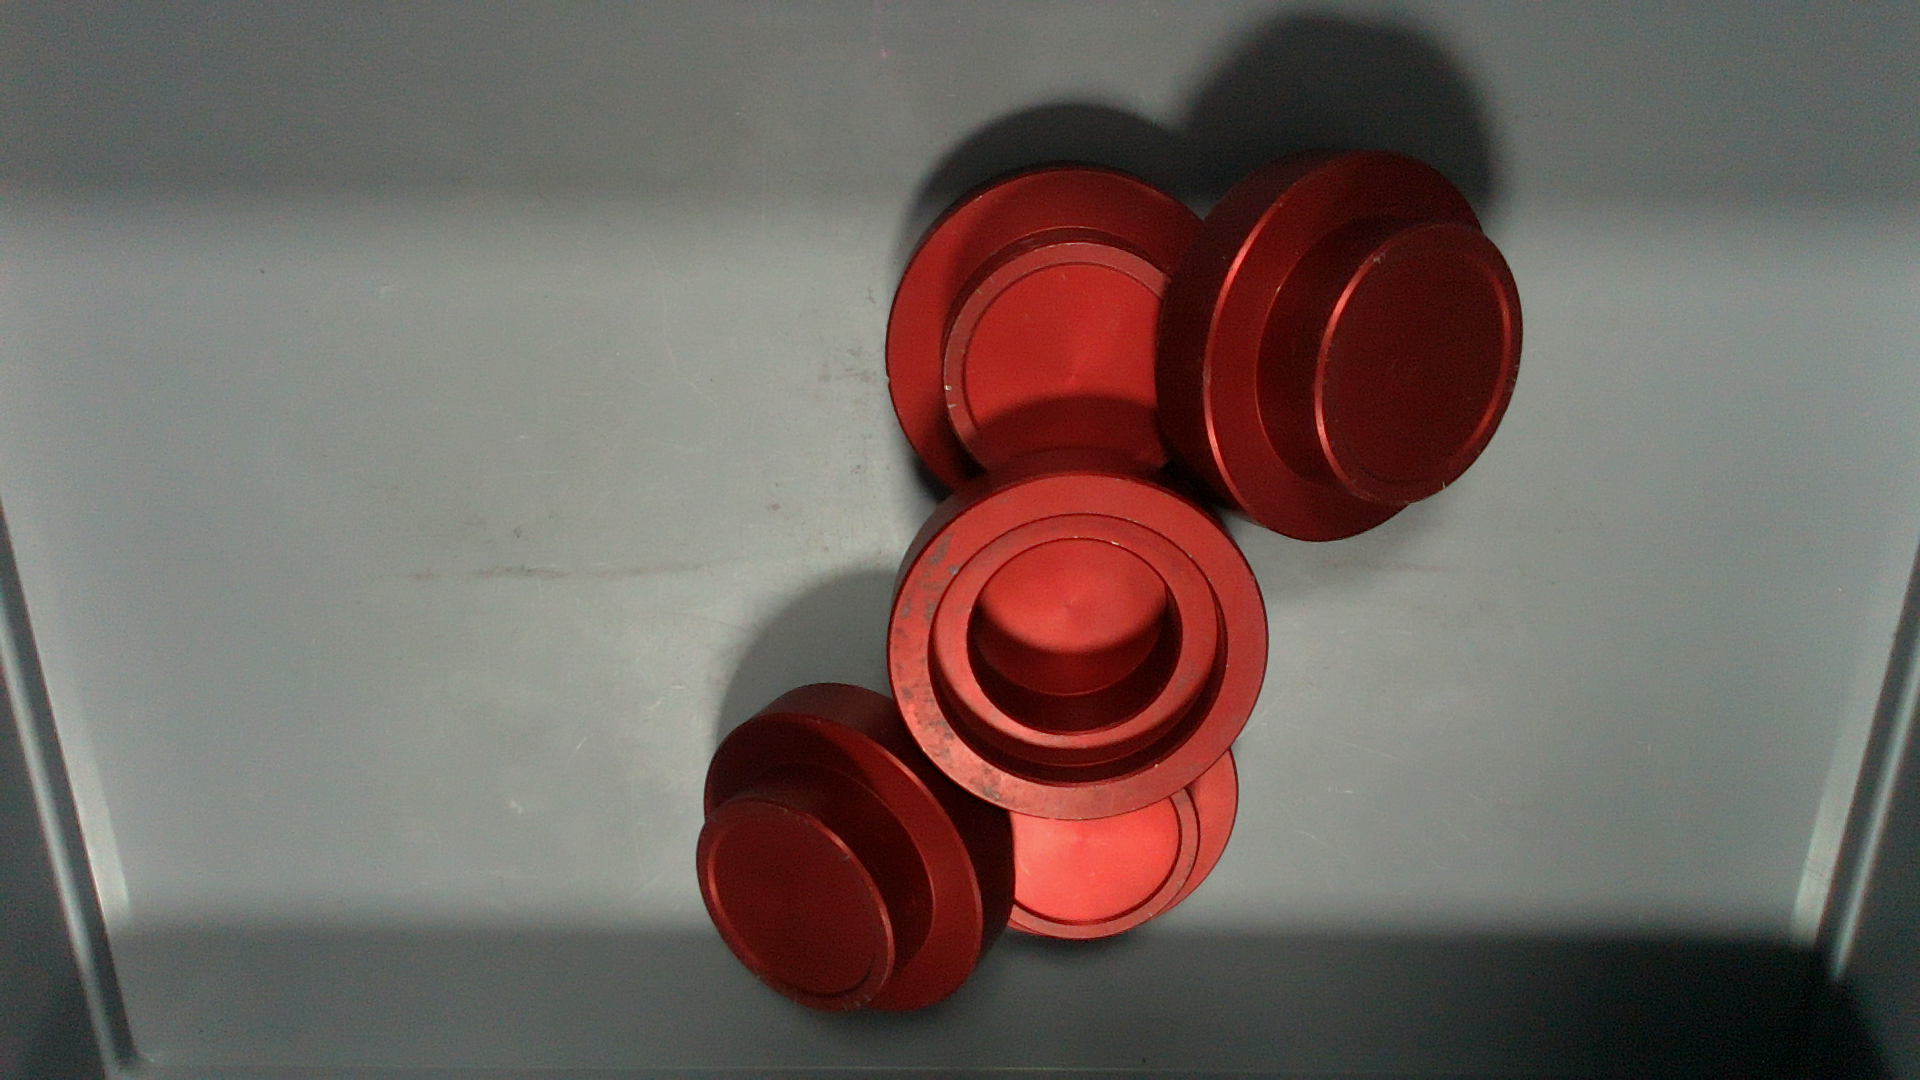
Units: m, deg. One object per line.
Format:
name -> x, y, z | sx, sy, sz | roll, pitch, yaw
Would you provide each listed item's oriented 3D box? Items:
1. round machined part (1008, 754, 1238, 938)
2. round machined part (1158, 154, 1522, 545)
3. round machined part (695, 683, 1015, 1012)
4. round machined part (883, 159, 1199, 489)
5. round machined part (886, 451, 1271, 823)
round machined part -> 0.035, 0.079, 0.413 | 0.098, 0.042, 0.098 | 0, 110, 0
round machined part -> 0.101, -0.046, 0.345 | 0.098, 0.042, 0.098 | -10, 110, -29
round machined part -> -0.037, 0.094, 0.396 | 0.098, 0.042, 0.098 | 13, 117, 27
round machined part -> 0.029, -0.049, 0.365 | 0.098, 0.042, 0.098 | 0, 110, 0
round machined part -> 0.030, 0.023, 0.369 | 0.098, 0.042, 0.098 | 0, 110, 0
